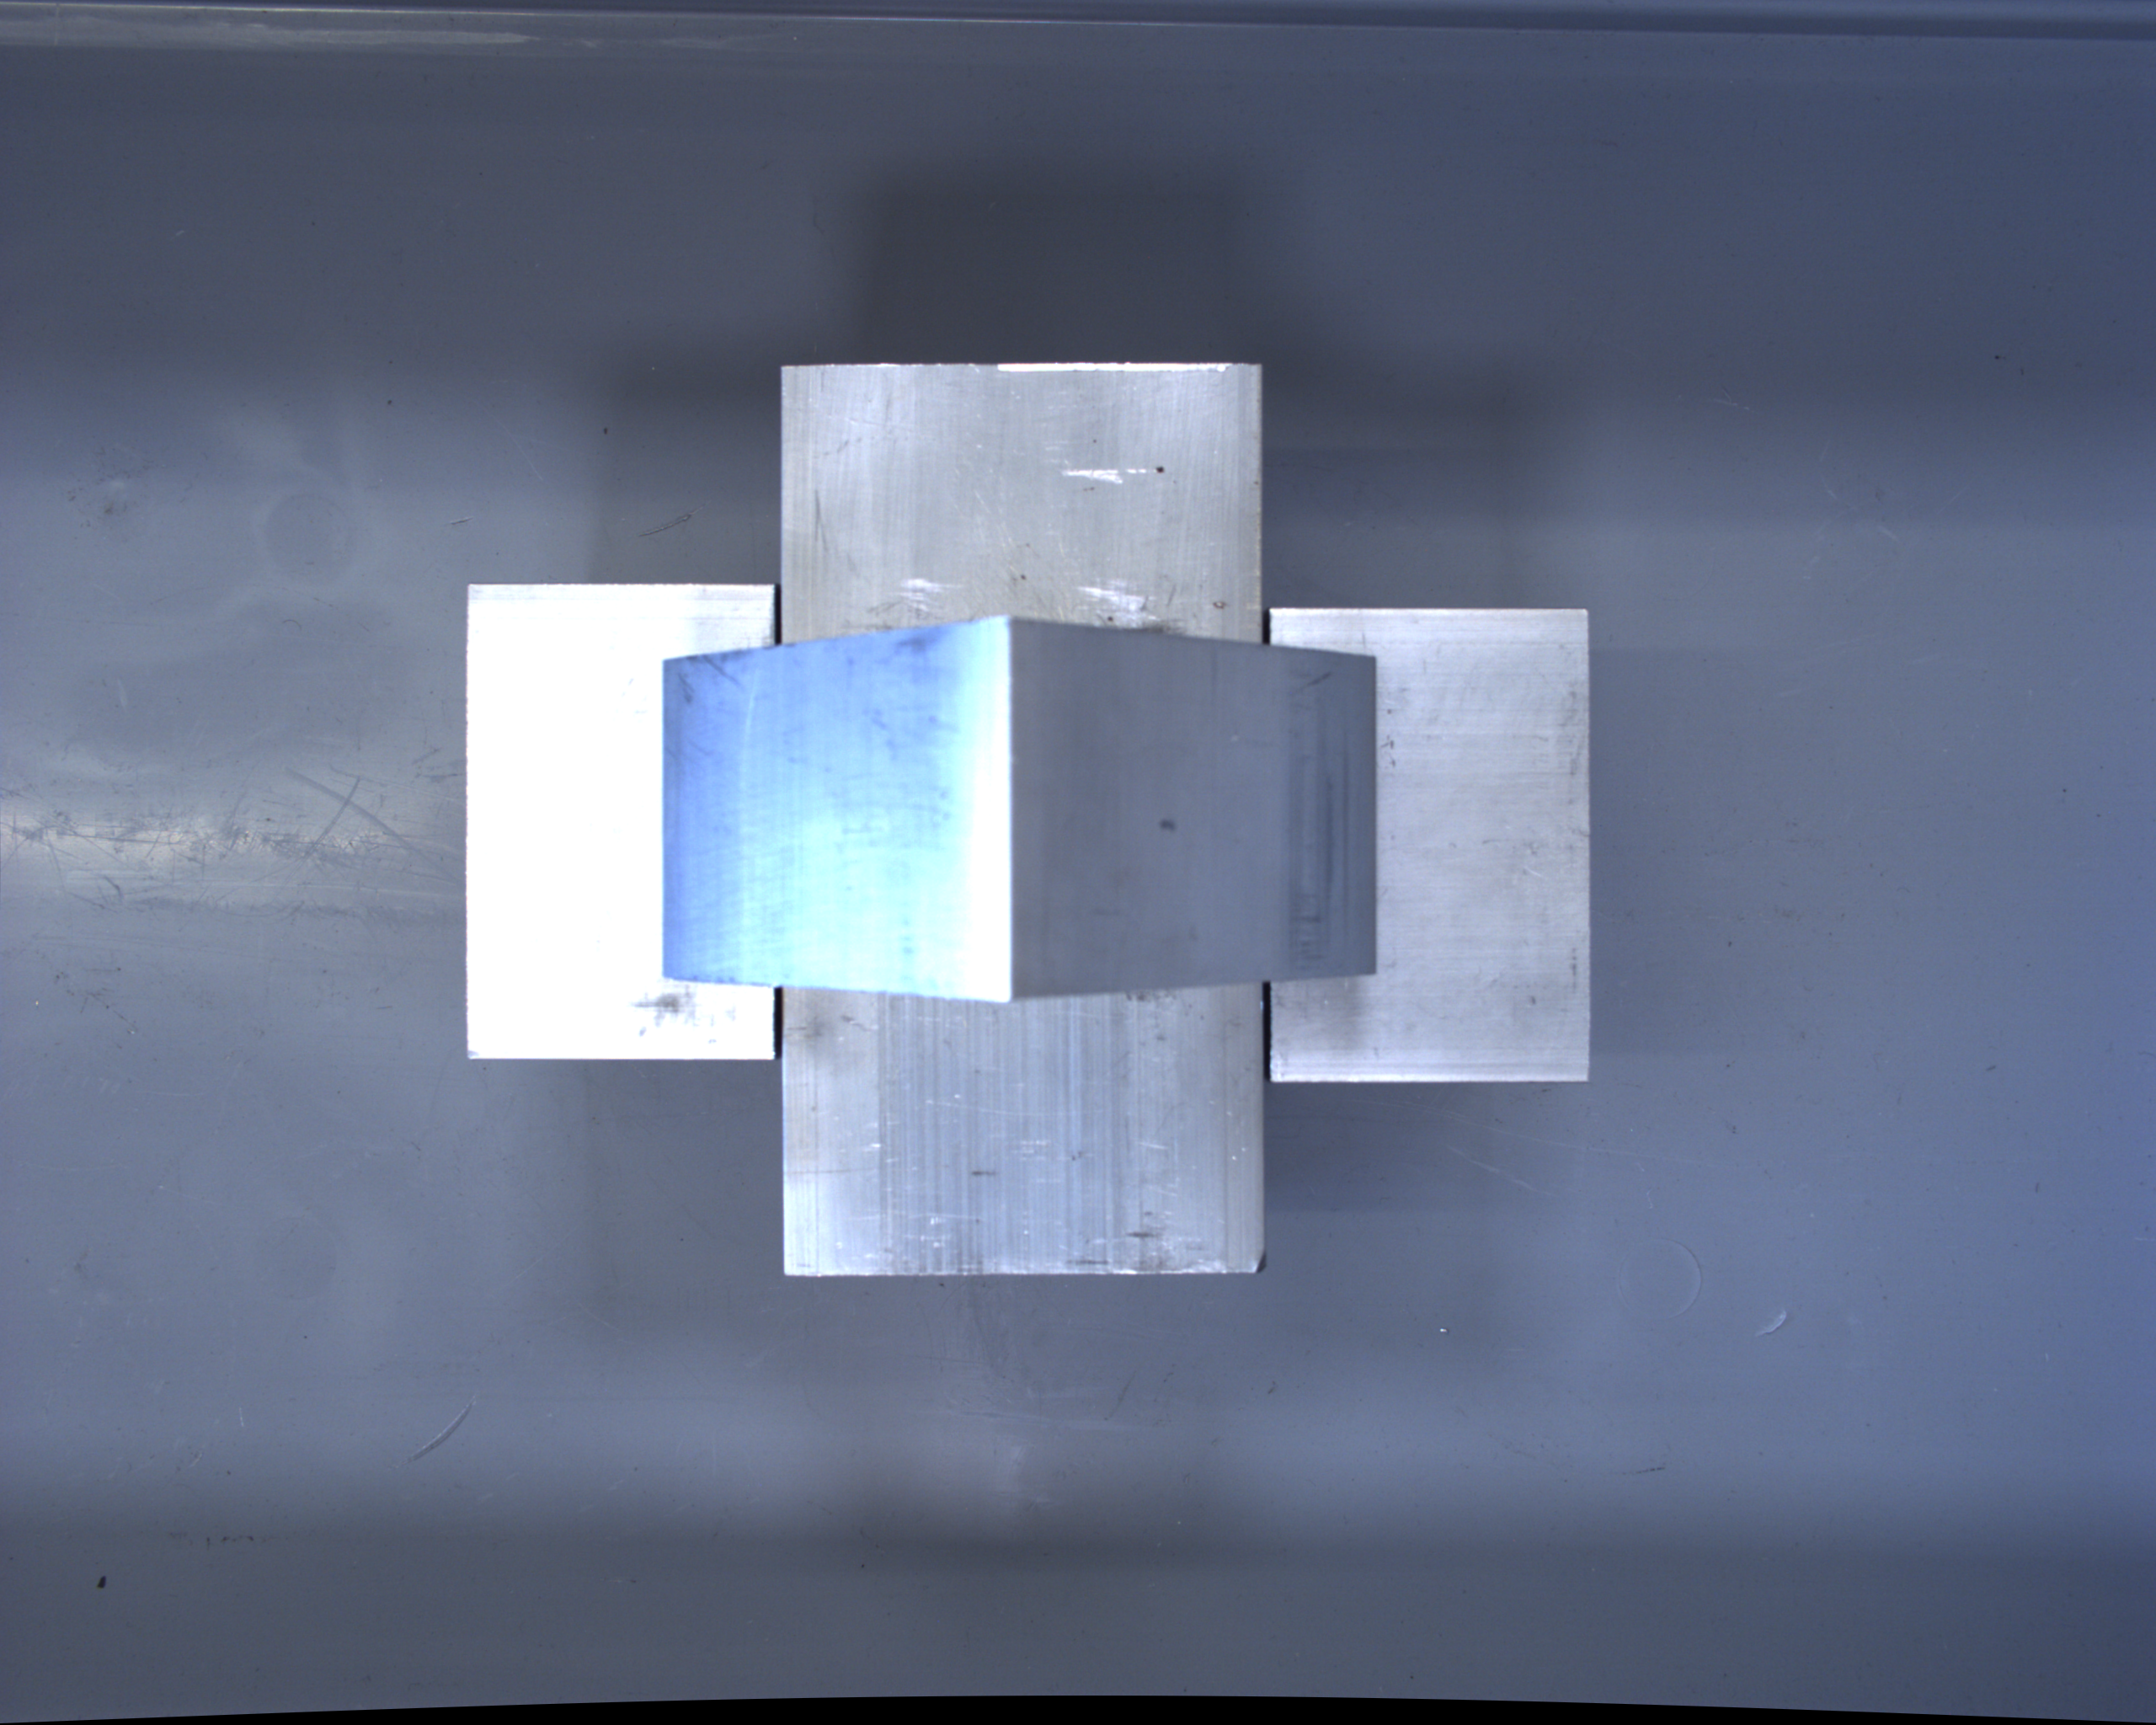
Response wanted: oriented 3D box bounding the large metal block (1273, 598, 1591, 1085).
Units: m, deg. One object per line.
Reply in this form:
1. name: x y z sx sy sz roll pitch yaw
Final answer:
1. large metal block: 0.058 -0.004 0.381 0.050 0.080 0.080 0 90 -1

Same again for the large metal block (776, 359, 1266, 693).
1. large metal block: -0.009 -0.058 0.382 0.081 0.080 0.050 0 90 0

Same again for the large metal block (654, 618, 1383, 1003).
1. large metal block: -0.009 -0.007 0.326 0.081 0.080 0.050 0 90 -45

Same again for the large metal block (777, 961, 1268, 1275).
1. large metal block: -0.009 0.043 0.383 0.081 0.080 0.050 0 90 0

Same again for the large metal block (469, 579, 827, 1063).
1. large metal block: -0.075 -0.007 0.383 0.050 0.080 0.080 0 90 0
